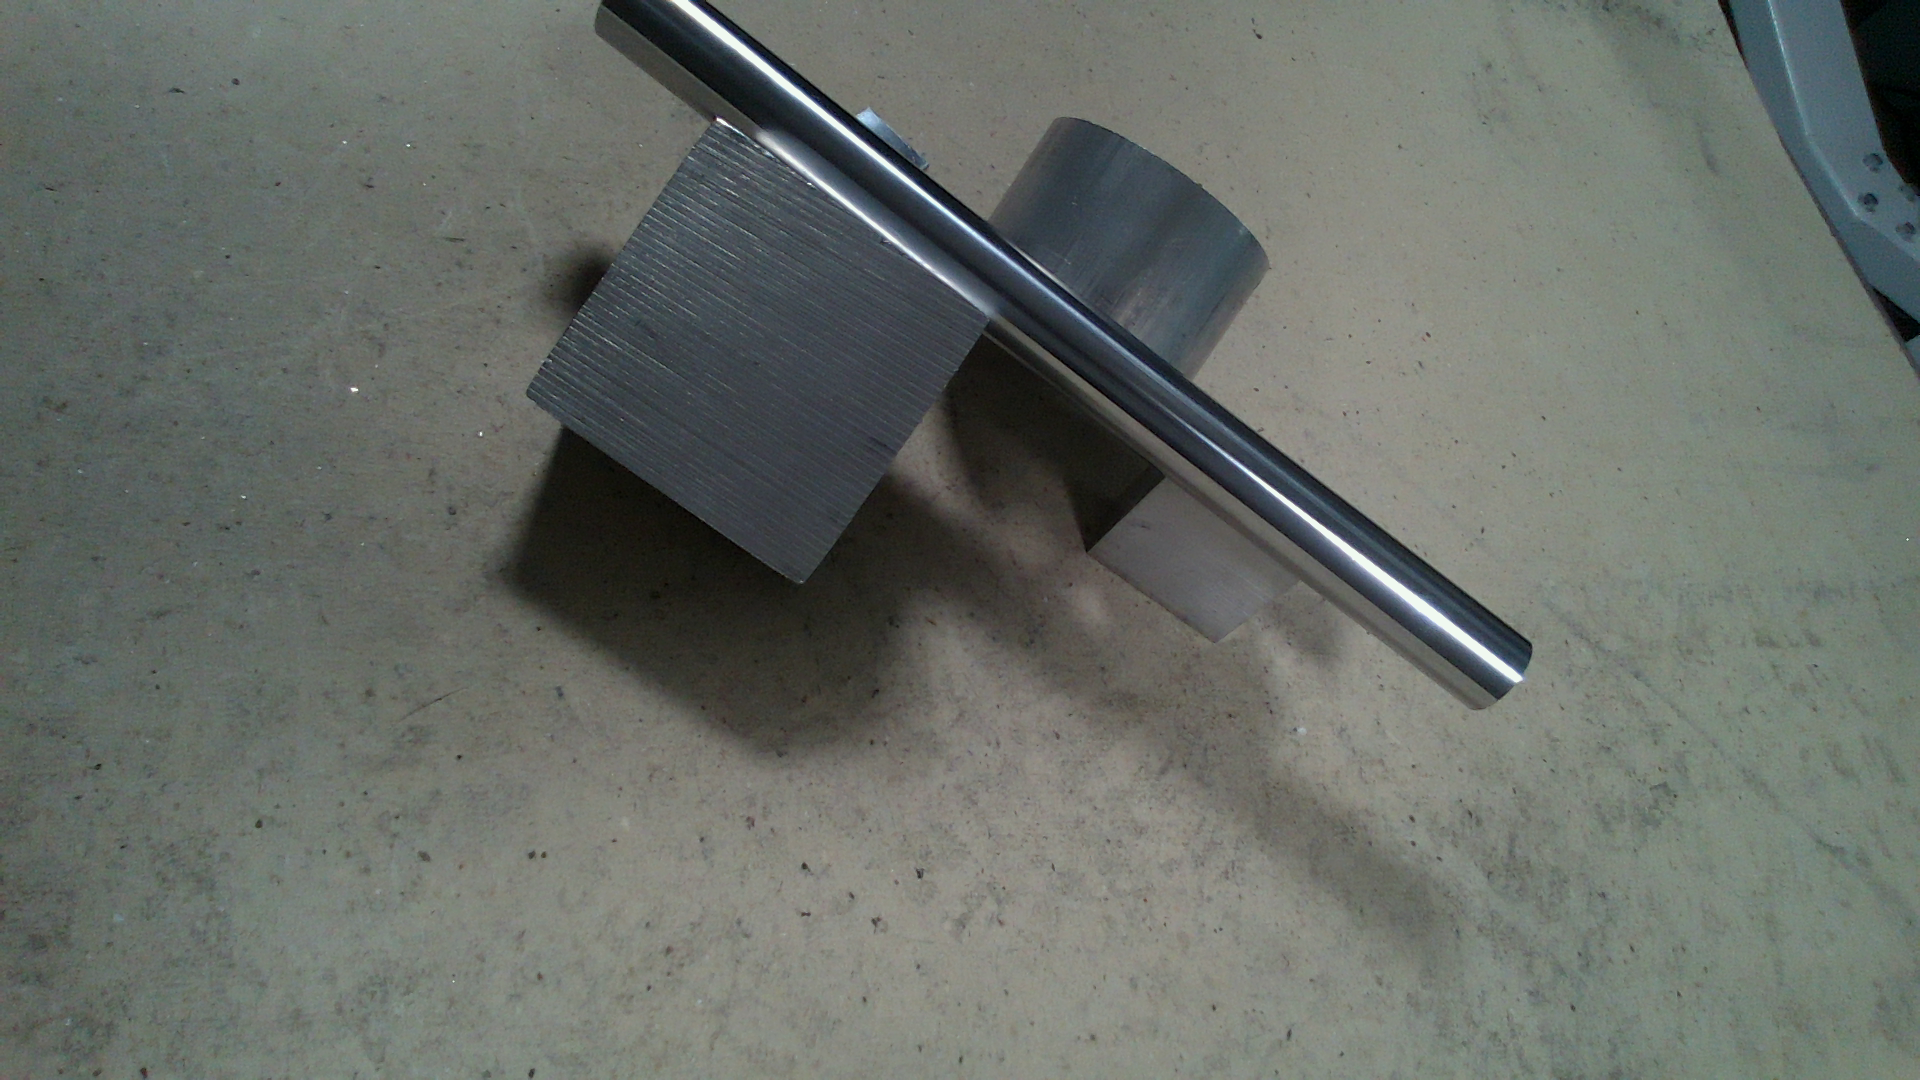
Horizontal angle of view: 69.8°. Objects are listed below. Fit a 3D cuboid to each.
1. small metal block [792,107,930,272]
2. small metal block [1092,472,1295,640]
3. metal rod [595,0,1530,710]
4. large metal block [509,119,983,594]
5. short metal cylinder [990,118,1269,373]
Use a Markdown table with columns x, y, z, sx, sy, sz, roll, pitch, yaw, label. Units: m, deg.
| x | y | z | sx | sy | sz | roll | pitch | yaw | label |
| --- | --- | --- | --- | --- | --- | --- | --- | --- | --- |
| -0.042 | -0.093 | 0.409 | 0.025 | 0.050 | 0.050 | 43 | 51 | 2 | small metal block |
| 0.076 | -0.003 | 0.413 | 0.050 | 0.050 | 0.025 | 35 | 51 | -5 | small metal block |
| 0.030 | -0.053 | 0.375 | 0.300 | 0.025 | 0.025 | 37 | 51 | -3 | metal rod |
| -0.052 | -0.045 | 0.351 | 0.080 | 0.050 | 0.080 | 35 | 91 | -5 | large metal block |
| 0.047 | -0.084 | 0.423 | 0.080 | 0.080 | 0.050 | 34 | 93 | -6 | short metal cylinder |
